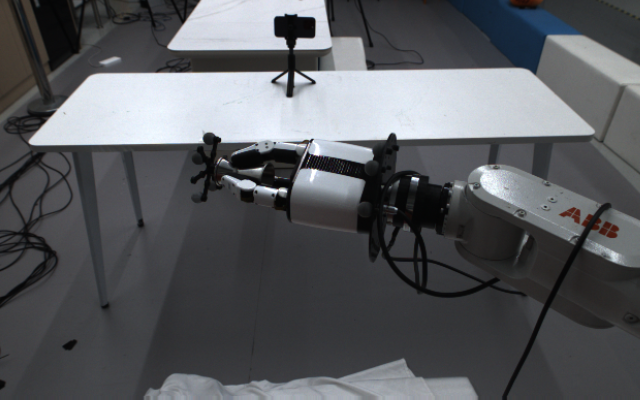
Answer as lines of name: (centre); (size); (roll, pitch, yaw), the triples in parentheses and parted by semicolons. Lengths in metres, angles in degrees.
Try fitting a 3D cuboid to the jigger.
jigger: (-0.093, -0.035, 0.637); (0.071, 0.043, 0.043); (11, 36, 15)
